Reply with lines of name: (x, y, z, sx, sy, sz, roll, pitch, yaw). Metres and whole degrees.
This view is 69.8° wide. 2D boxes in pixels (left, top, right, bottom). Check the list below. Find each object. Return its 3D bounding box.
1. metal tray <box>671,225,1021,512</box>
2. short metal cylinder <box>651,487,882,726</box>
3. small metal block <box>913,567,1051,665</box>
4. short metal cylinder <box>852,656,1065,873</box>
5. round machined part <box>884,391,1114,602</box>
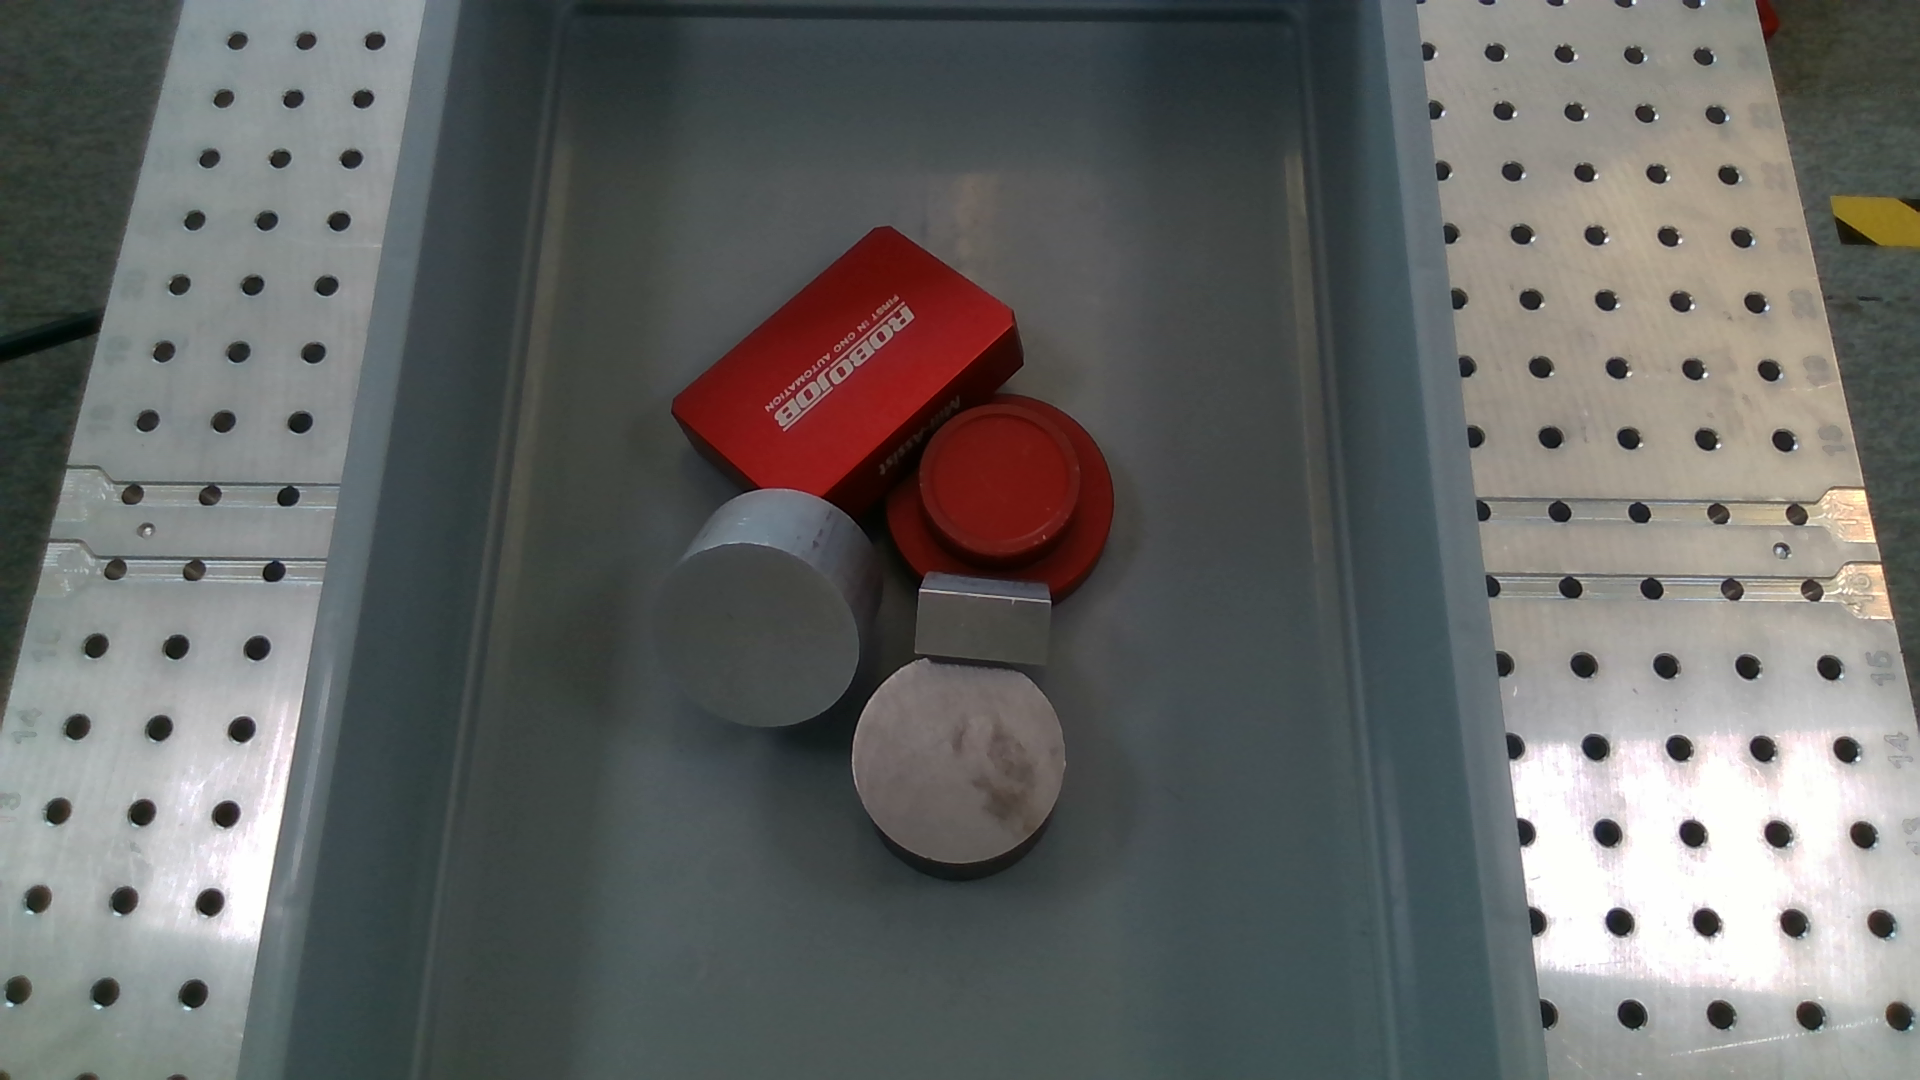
metal tray: (-0.048, -0.070, 0.597, 0.130, 0.030, 0.090, -43, 60, -13)
short metal cylinder: (-0.075, 0.026, 0.542, 0.080, 0.080, 0.050, 9, 27, 3)
small metal block: (0.009, 0.029, 0.544, 0.050, 0.050, 0.025, 5, 98, 1)
short metal cylinder: (-0.001, 0.089, 0.542, 0.080, 0.050, 0.080, 0, 70, 0)
round machined part: (0.017, -0.020, 0.584, 0.098, 0.042, 0.098, 0, 70, 0)
